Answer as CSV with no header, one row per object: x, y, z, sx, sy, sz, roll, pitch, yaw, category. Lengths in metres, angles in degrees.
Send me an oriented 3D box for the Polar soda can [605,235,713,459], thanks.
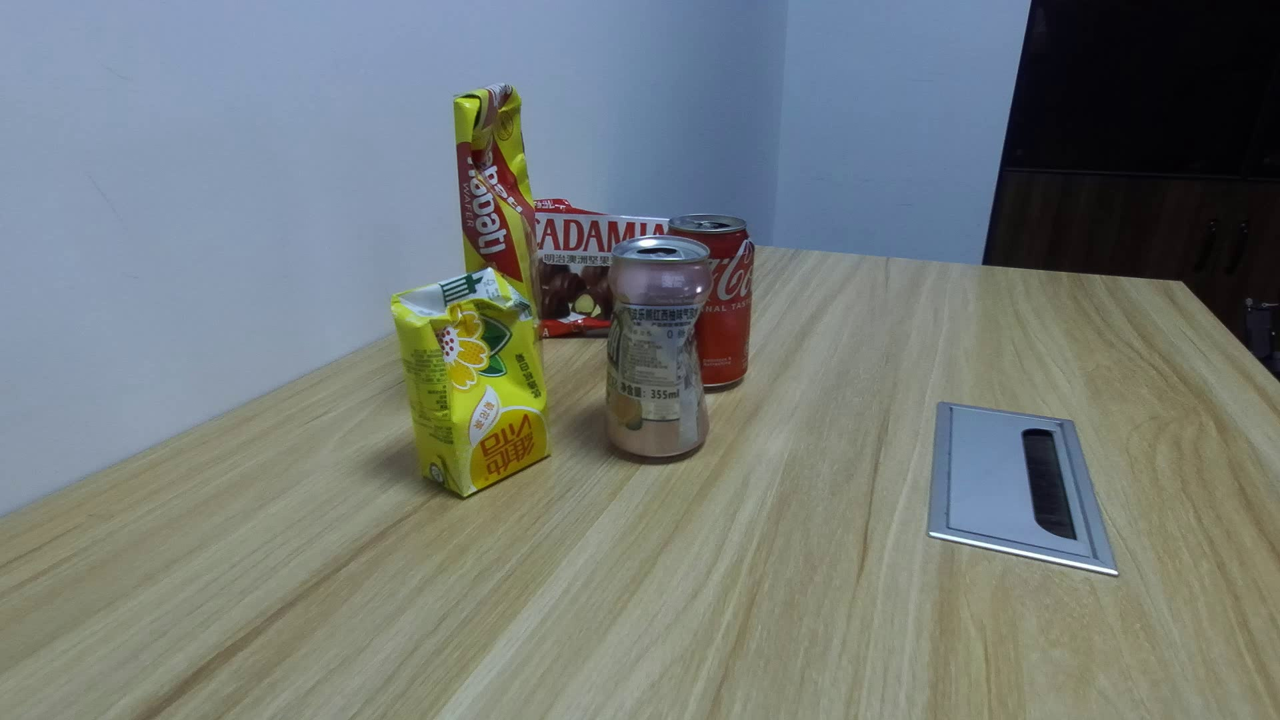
0.012,-0.007,0.420,0.067,0.122,0.074,18,29,40,Polar soda can

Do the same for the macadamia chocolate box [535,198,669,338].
-0.034,-0.079,0.605,0.126,0.112,0.056,-1,20,-4,macadamia chocolate box

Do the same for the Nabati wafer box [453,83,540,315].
-0.093,-0.079,0.482,0.042,0.205,0.113,-3,26,-6,Nabati wafer box

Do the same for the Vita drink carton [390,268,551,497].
-0.090,0.012,0.393,0.046,0.110,0.071,17,29,40,Vita drink carton

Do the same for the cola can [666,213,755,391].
0.048,-0.043,0.509,0.068,0.120,0.068,0,22,0,cola can
